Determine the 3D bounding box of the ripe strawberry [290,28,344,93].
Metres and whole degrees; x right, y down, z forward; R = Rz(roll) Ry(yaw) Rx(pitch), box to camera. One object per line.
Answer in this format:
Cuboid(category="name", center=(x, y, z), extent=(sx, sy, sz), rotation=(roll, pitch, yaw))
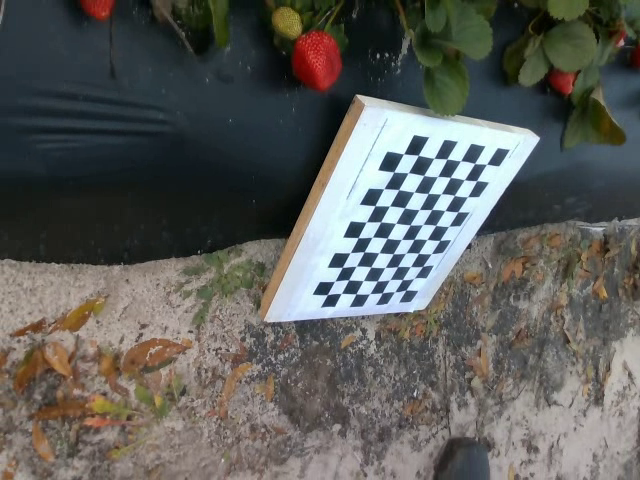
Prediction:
Cuboid(category="ripe strawberry", center=(-0.001, -0.157, 0.566), extent=(0.057, 0.065, 0.056), rotation=(-16, -39, 3))
